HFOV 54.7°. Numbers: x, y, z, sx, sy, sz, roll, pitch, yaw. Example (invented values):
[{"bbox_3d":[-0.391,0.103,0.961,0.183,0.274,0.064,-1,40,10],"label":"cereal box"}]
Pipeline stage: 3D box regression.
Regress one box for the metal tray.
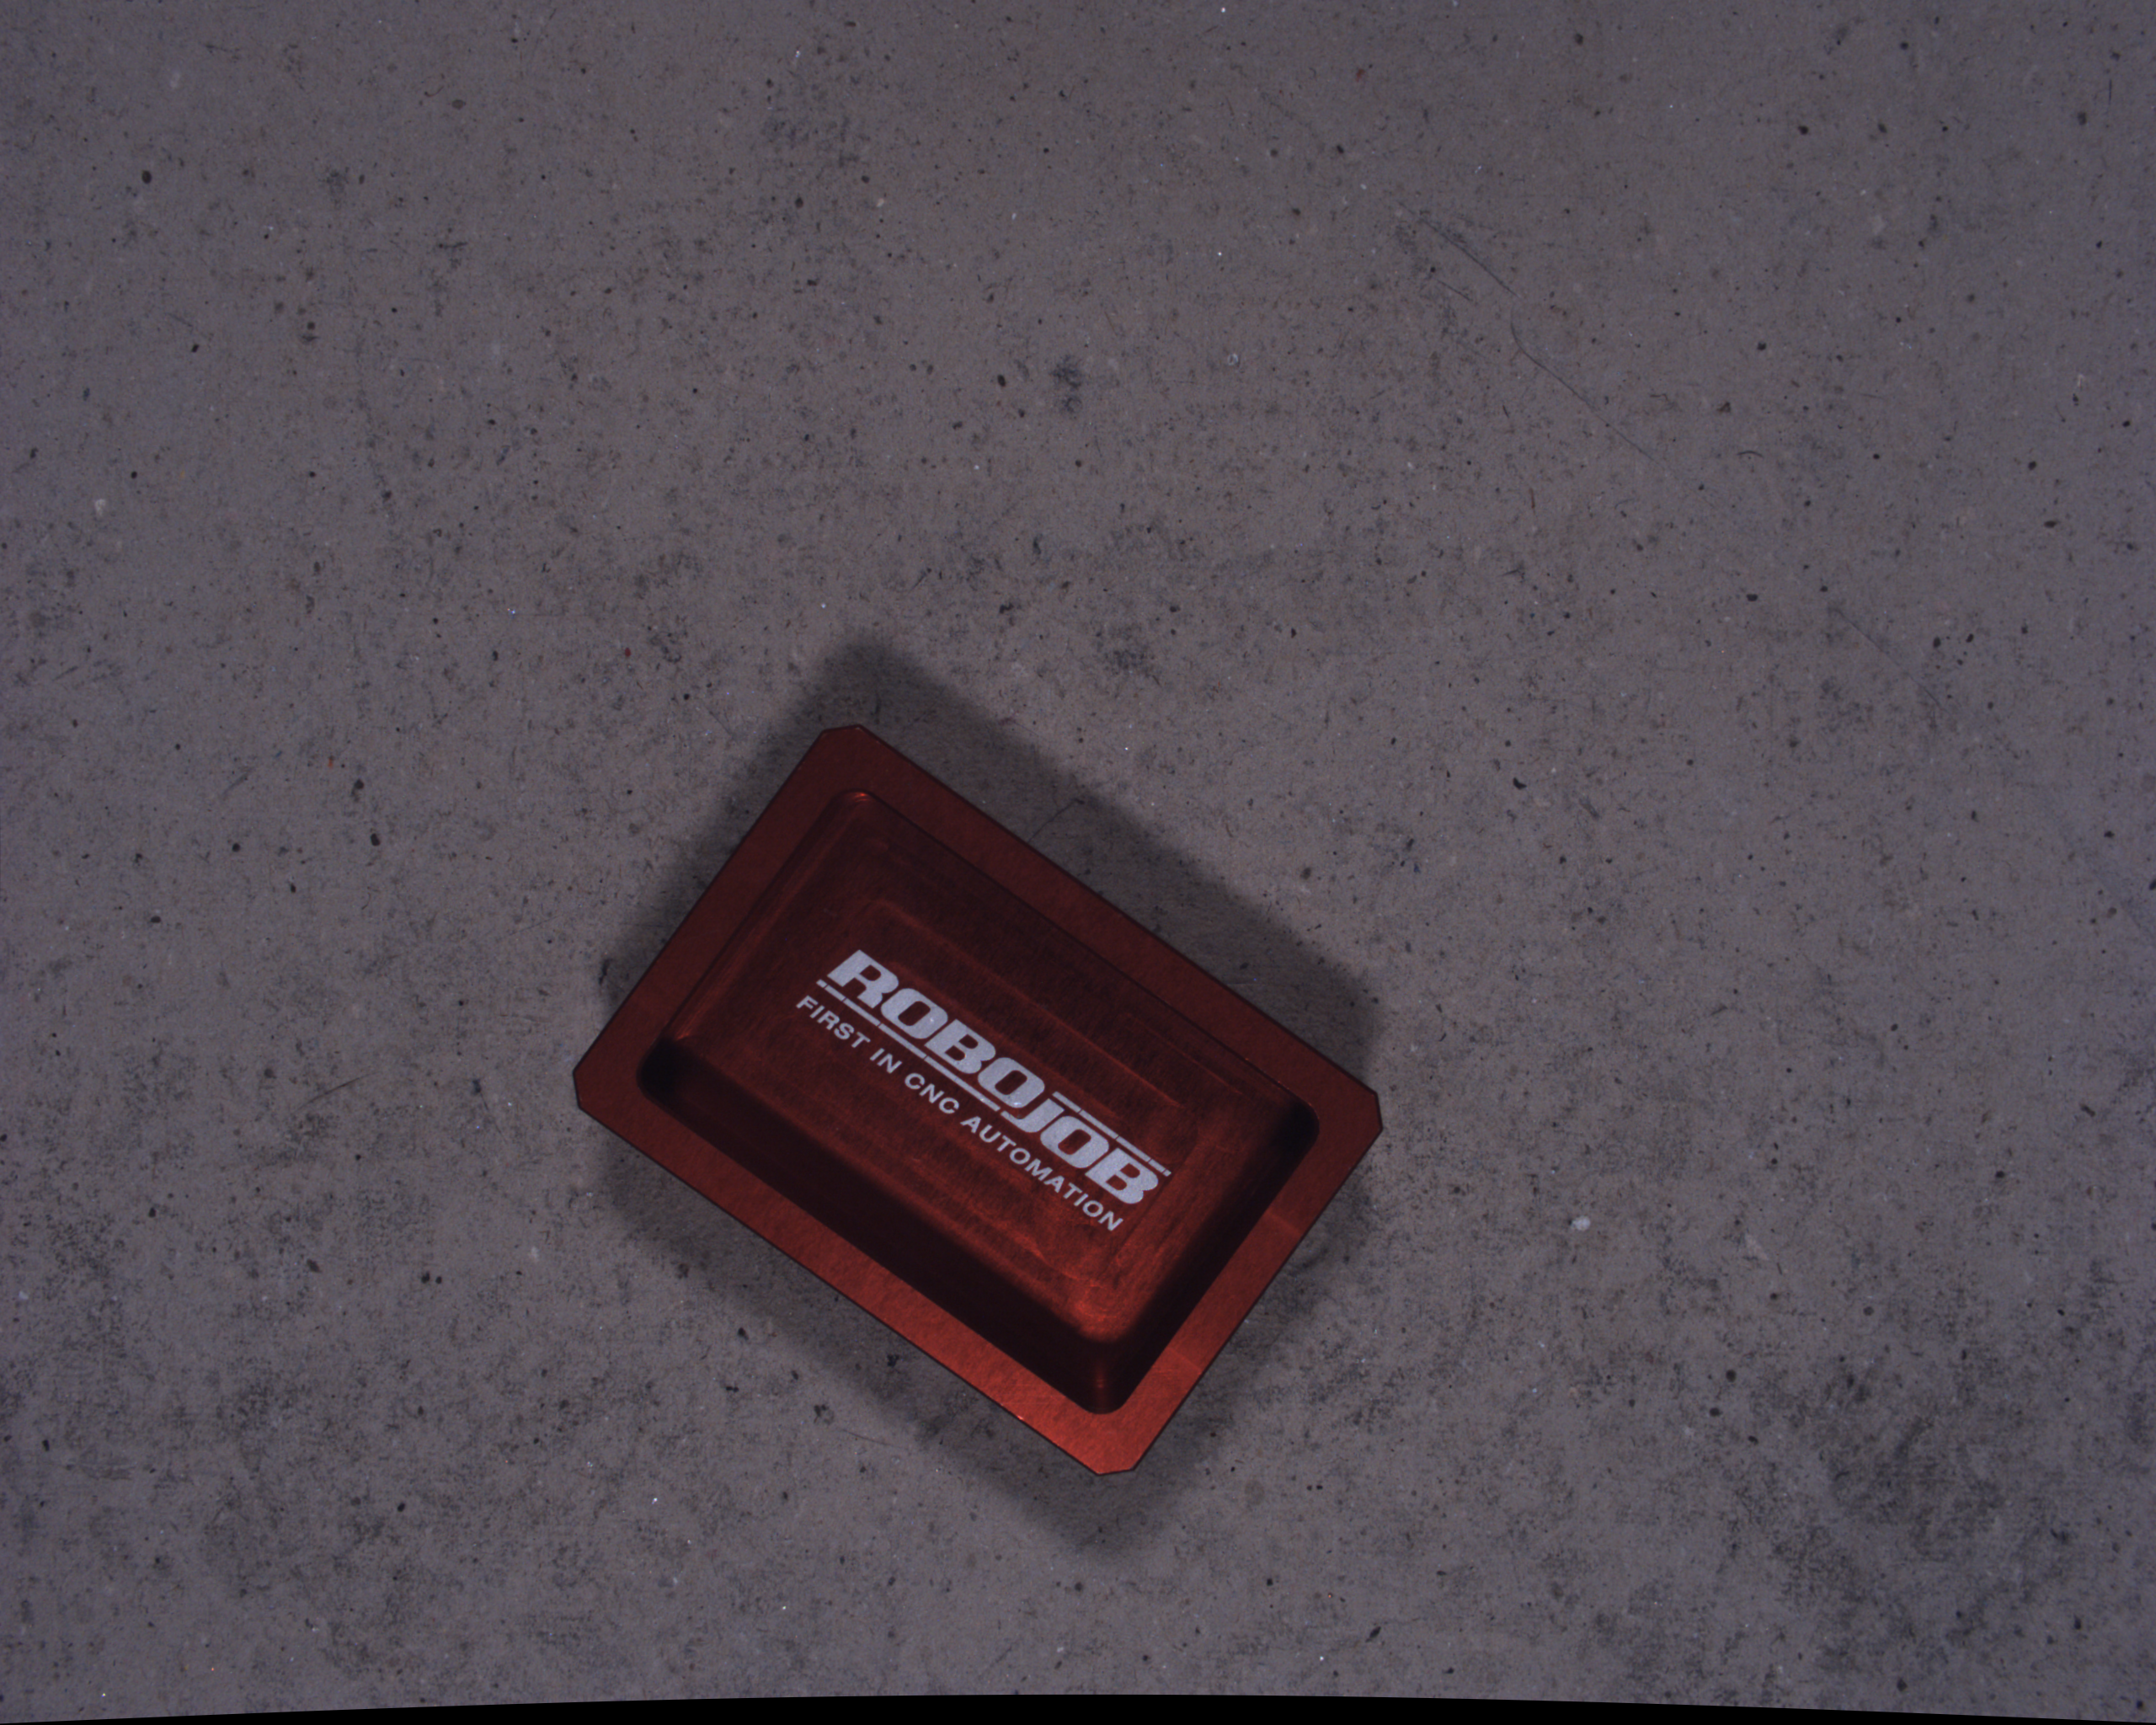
[{"bbox_3d":[-0.019,0.045,0.408,0.130,0.030,0.090,36,90,-1],"label":"metal tray"}]
